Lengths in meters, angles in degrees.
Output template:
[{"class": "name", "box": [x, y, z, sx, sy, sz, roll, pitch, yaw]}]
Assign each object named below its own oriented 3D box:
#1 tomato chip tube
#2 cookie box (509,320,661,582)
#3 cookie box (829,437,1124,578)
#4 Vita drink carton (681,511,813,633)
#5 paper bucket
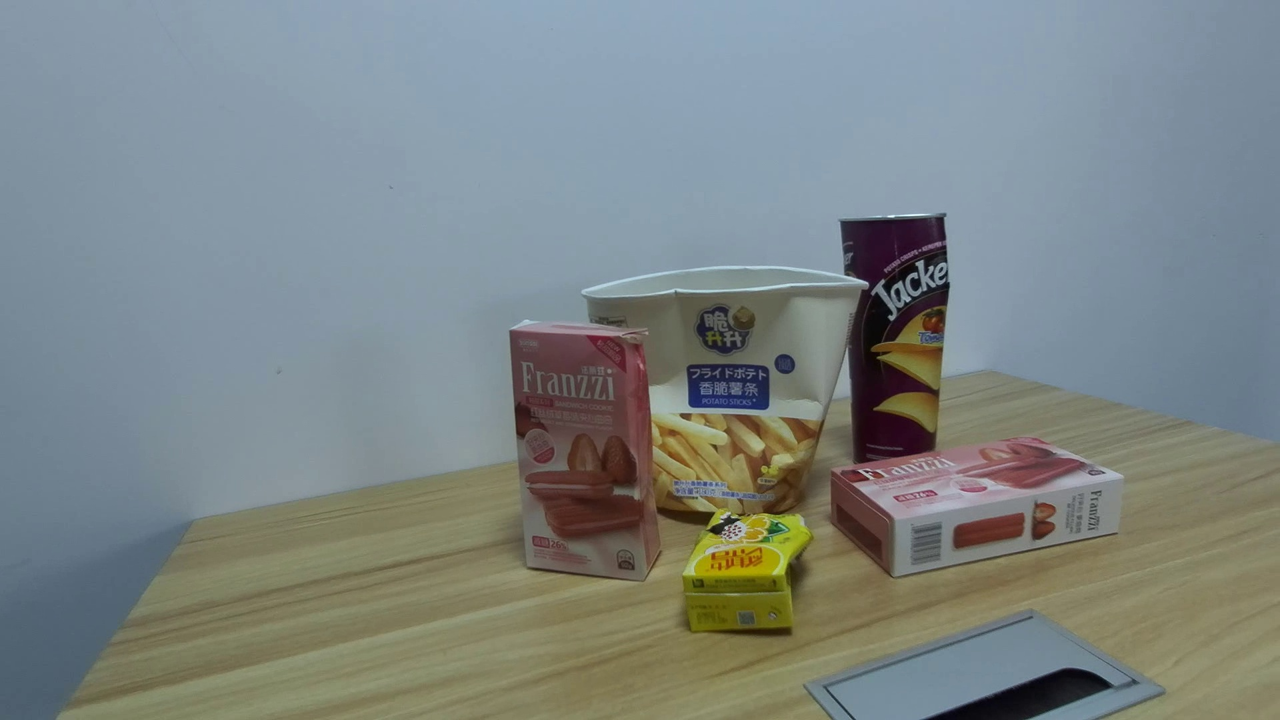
[{"class": "tomato chip tube", "box": [0.238, -0.016, 0.662, 0.076, 0.235, 0.077, -6, 11, -7]}, {"class": "cookie box", "box": [-0.038, 0.065, 0.518, 0.118, 0.184, 0.055, 2, 15, 25]}, {"class": "cookie box", "box": [0.250, 0.107, 0.539, 0.185, 0.048, 0.096, -7, 13, -11]}, {"class": "Vita drink carton", "box": [0.072, 0.137, 0.473, 0.087, 0.042, 0.108, -7, 7, 19]}, {"class": "paper bucket", "box": [0.073, 0.024, 0.621, 0.218, 0.199, 0.147, -8, 13, -11]}]
